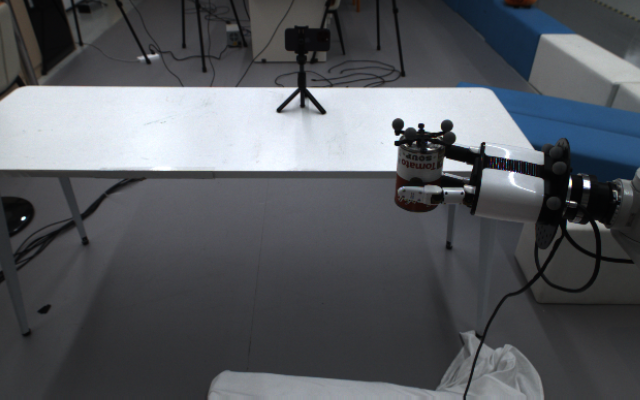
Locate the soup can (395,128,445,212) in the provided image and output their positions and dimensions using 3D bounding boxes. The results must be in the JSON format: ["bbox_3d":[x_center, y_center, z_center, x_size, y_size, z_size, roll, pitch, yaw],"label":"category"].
[{"bbox_3d":[0.148,-0.044,0.716,0.067,0.101,0.067,-2,34,1],"label":"soup can"}]
